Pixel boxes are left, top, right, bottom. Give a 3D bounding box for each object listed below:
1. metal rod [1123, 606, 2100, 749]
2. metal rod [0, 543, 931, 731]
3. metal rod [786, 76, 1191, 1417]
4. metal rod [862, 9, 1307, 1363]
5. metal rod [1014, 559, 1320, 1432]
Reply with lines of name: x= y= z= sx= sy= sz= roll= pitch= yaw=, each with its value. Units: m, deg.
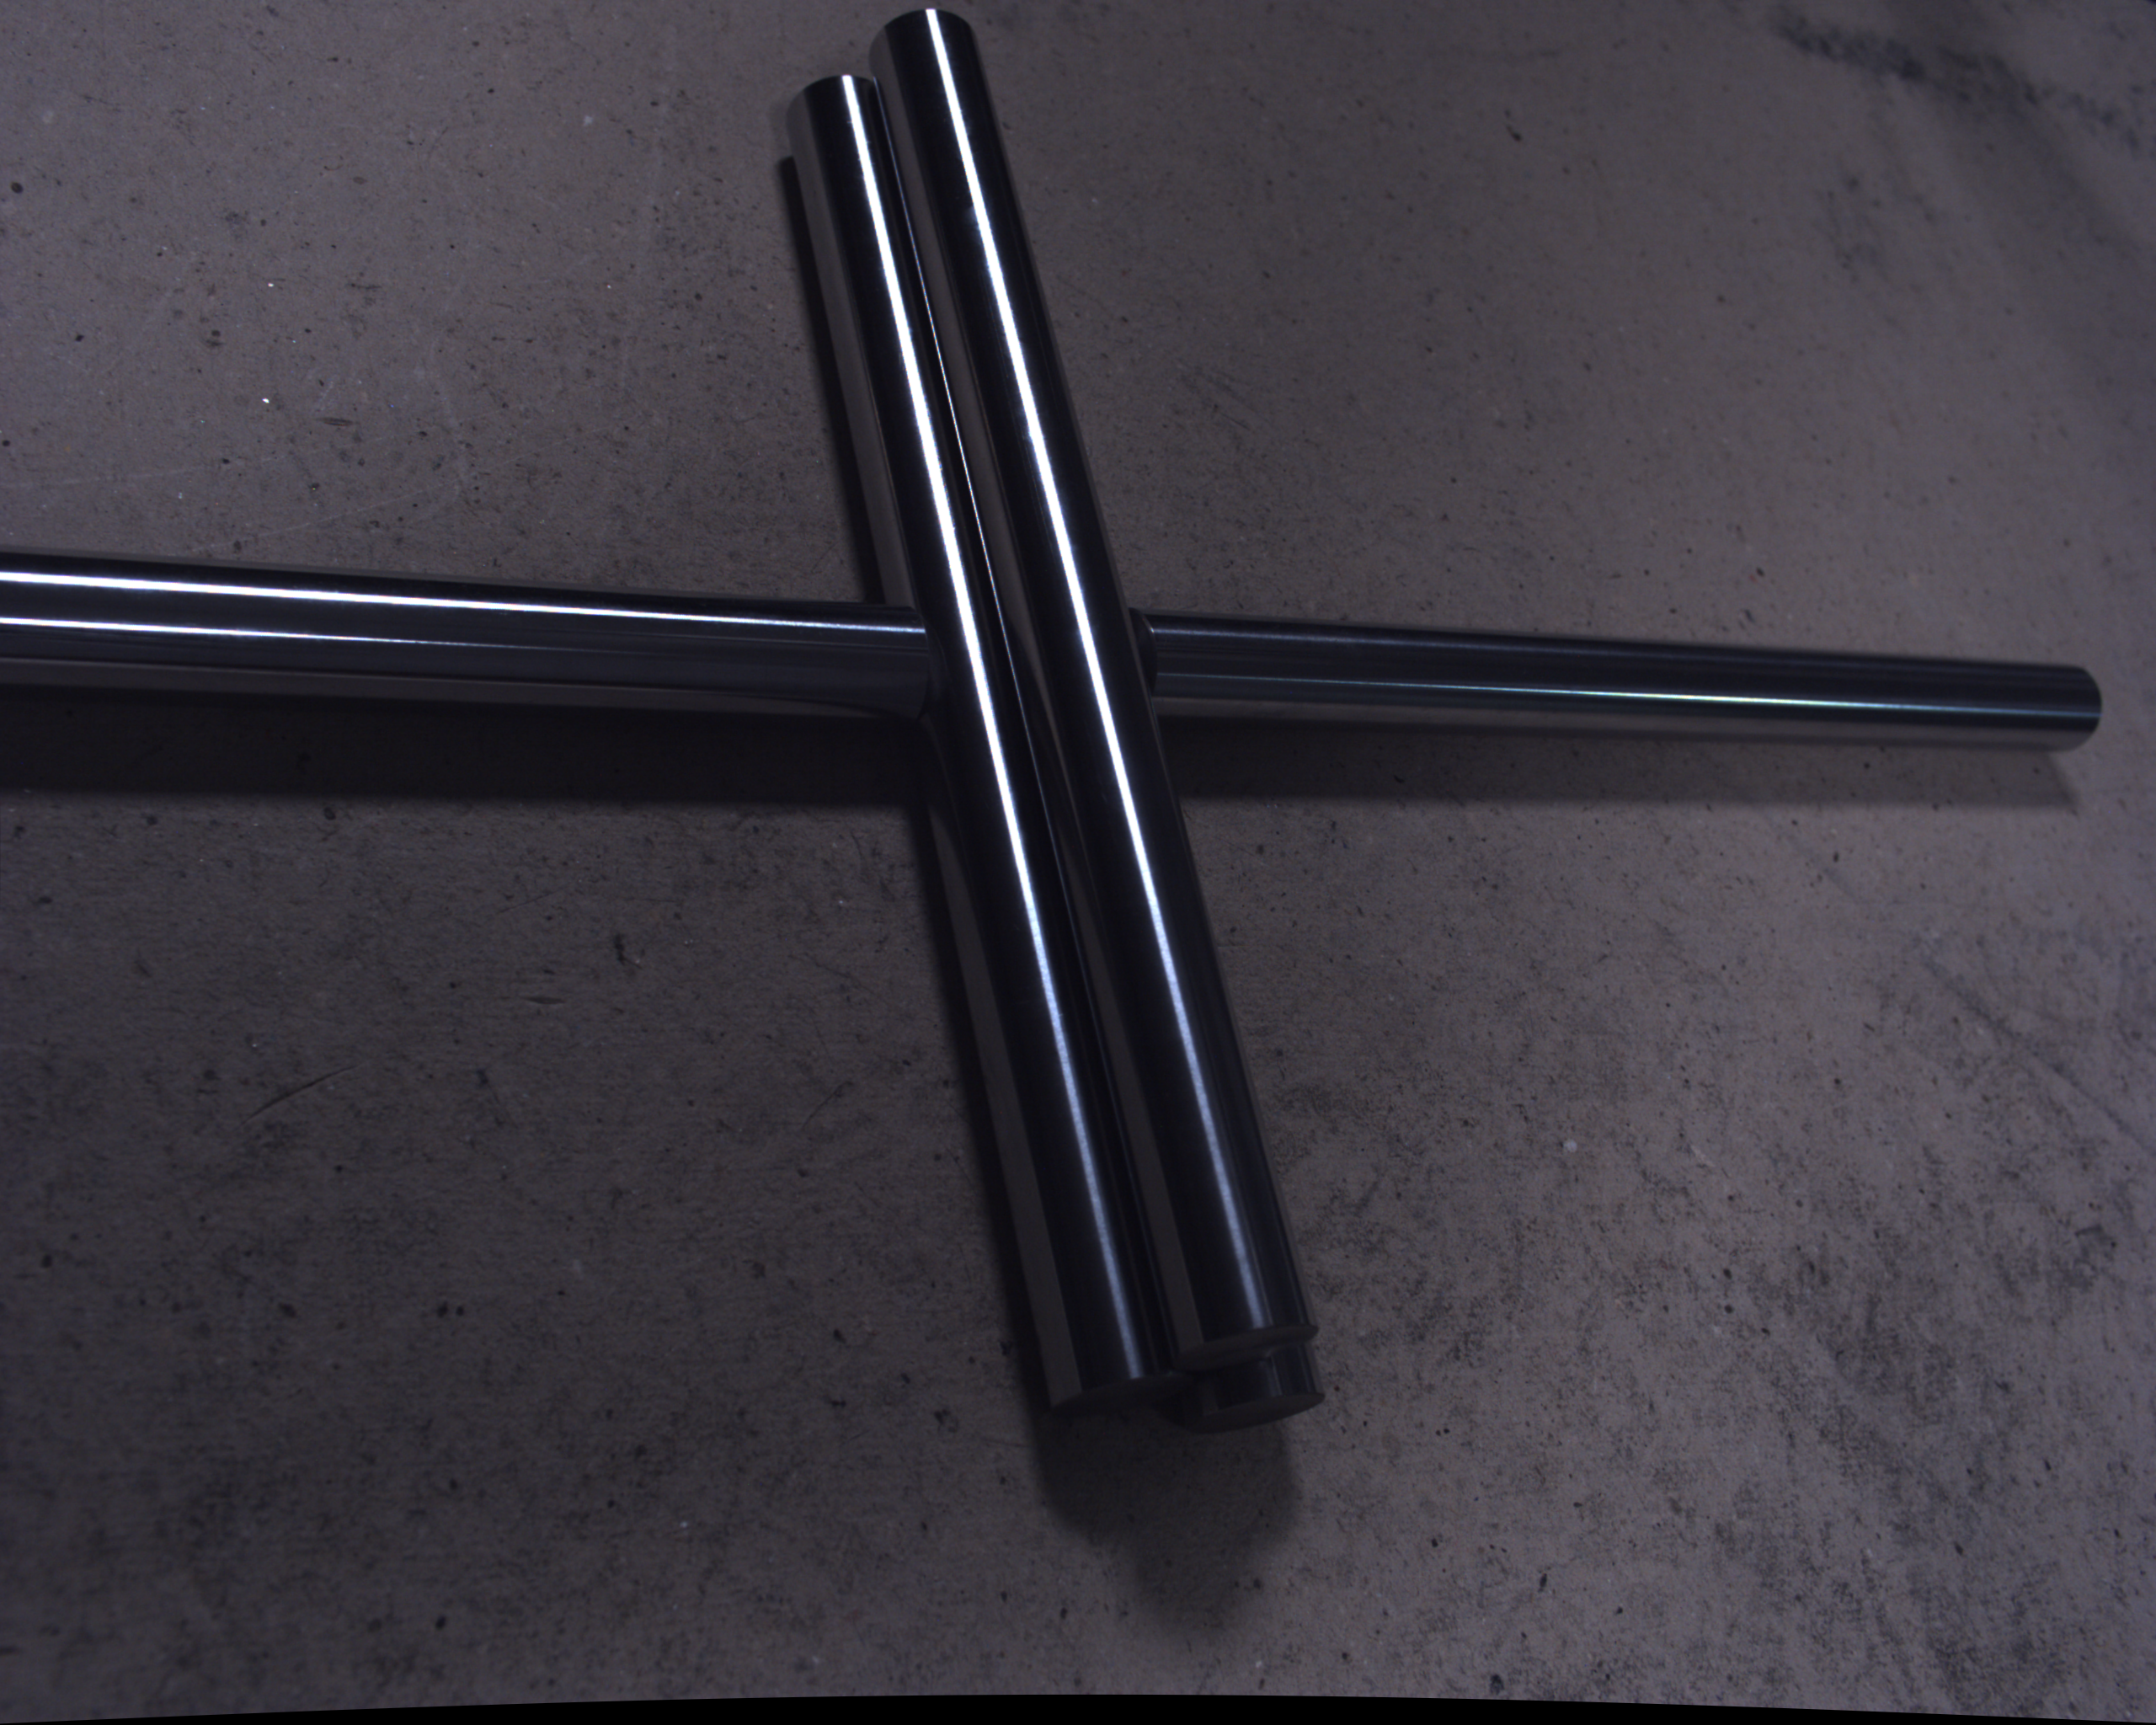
metal rod: x=0.142 y=-0.043 z=0.510 sx=0.303 sy=0.025 sz=0.025 roll=-1 pitch=62 yaw=-29
metal rod: x=-0.167 y=-0.039 z=0.339 sx=0.303 sy=0.025 sz=0.025 roll=0 pitch=62 yaw=-28
metal rod: x=-0.024 y=-0.041 z=0.419 sx=0.025 sy=0.025 sz=0.299 roll=1 pitch=61 yaw=-28
metal rod: x=-0.005 y=-0.052 z=0.410 sx=0.025 sy=0.025 sz=0.299 roll=1 pitch=61 yaw=-28
metal rod: x=-0.001 y=-0.035 z=0.429 sx=0.025 sy=0.025 sz=0.299 roll=1 pitch=61 yaw=-28
